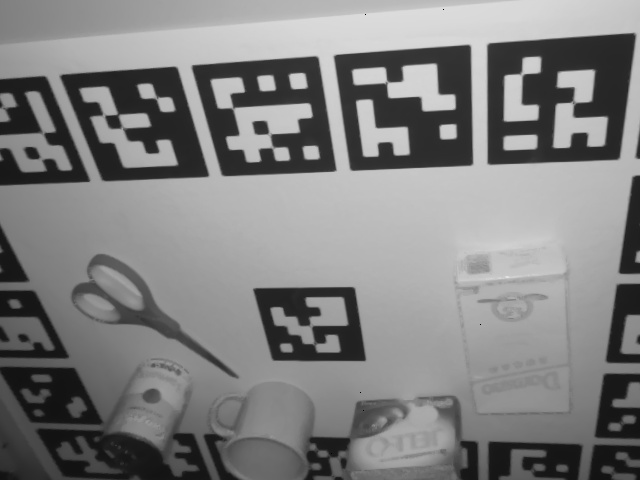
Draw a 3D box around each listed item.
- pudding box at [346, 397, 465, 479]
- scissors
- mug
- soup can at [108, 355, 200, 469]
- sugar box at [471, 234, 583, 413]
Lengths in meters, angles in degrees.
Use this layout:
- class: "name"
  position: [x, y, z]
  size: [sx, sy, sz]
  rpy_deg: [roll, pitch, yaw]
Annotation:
- class: "pudding box"
  position: [0.090, 0.209, 0.709]
  size: [0.113, 0.091, 0.038]
  rpy_deg: [-10, 113, 16]
- class: "scissors"
  position: [-0.159, 0.082, 0.716]
  size: [0.203, 0.016, 0.087]
  rpy_deg: [39, 110, -14]
- class: "mug"
  position: [-0.054, 0.210, 0.743]
  size: [0.092, 0.082, 0.117]
  rpy_deg: [-37, 111, 25]
- class: "soup can"
  position: [-0.174, 0.182, 0.741]
  size: [0.068, 0.103, 0.067]
  rpy_deg: [4, 124, 7]
- class: "sugar box"
  position: [0.195, 0.083, 0.647]
  size: [0.092, 0.046, 0.175]
  rpy_deg: [-6, 119, 11]
